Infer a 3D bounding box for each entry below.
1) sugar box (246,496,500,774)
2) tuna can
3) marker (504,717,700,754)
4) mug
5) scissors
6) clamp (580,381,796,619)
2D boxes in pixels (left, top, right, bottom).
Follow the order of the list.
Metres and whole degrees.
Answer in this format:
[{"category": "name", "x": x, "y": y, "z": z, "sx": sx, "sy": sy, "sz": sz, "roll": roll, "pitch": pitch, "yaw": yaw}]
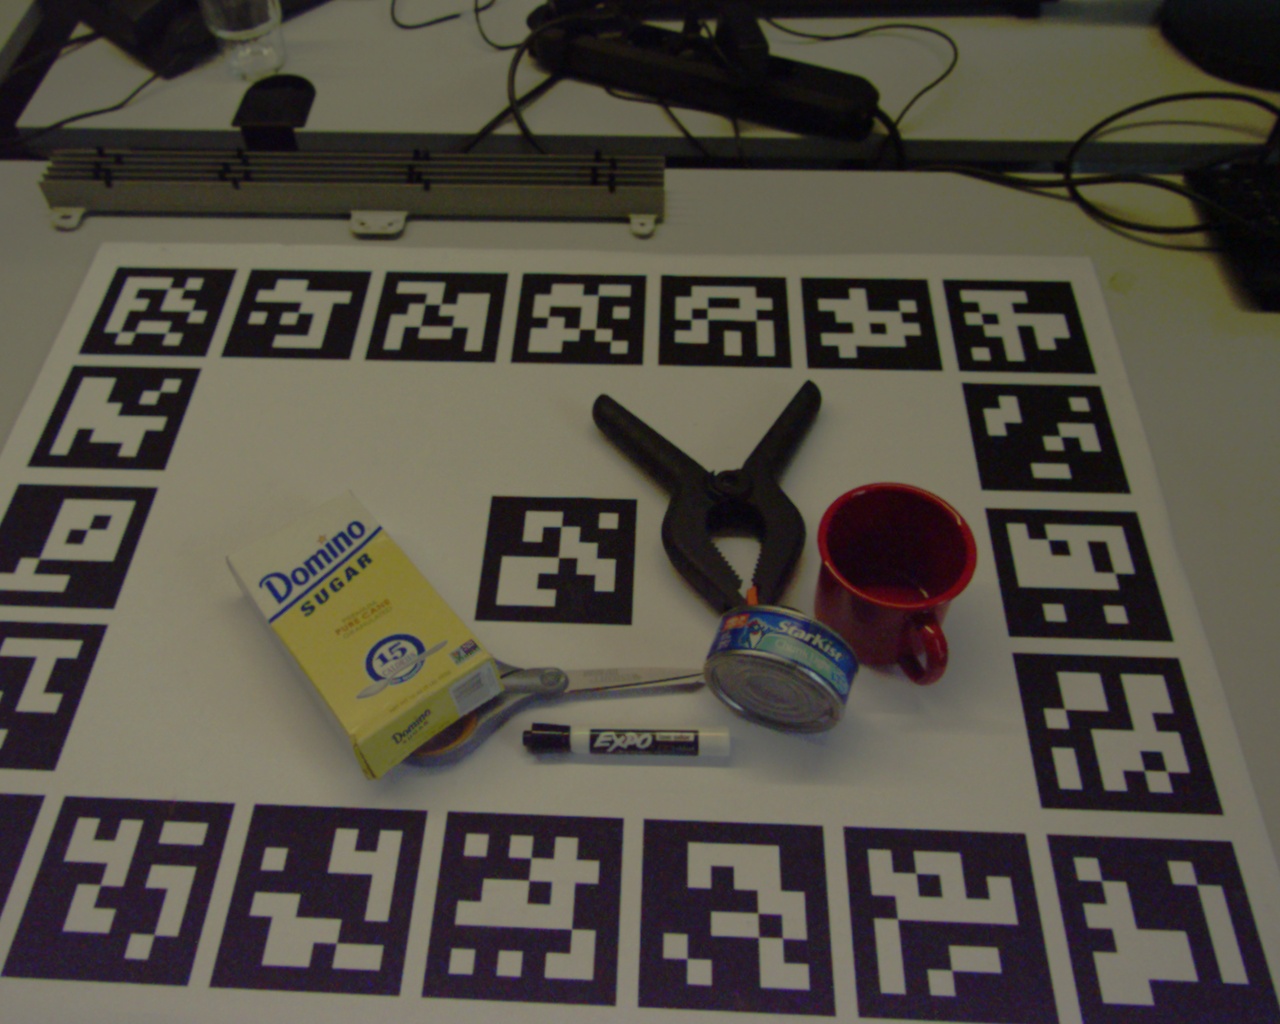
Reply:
[{"category": "sugar box", "x": -0.175, "y": 0.073, "z": 0.736, "sx": 0.092, "sy": 0.045, "sz": 0.178, "roll": -30, "pitch": 54, "yaw": -20}, {"category": "tuna can", "x": 0.079, "y": 0.094, "z": 0.698, "sx": 0.086, "sy": 0.085, "sz": 0.033, "roll": 15, "pitch": 56, "yaw": 11}, {"category": "marker", "x": -0.024, "y": 0.139, "z": 0.708, "sx": 0.121, "sy": 0.019, "sz": 0.020, "roll": -2, "pitch": 55, "yaw": 0}, {"category": "mug", "x": 0.139, "y": 0.054, "z": 0.731, "sx": 0.093, "sy": 0.081, "sz": 0.118, "roll": -22, "pitch": 54, "yaw": -15}, {"category": "scissors", "x": -0.069, "y": 0.103, "z": 0.732, "sx": 0.202, "sy": 0.016, "sz": 0.088, "roll": -7, "pitch": 51, "yaw": -6}, {"category": "clamp", "x": 0.051, "y": -0.005, "z": 0.811, "sx": 0.165, "sy": 0.036, "sz": 0.204, "roll": -7, "pitch": 56, "yaw": -5}]
